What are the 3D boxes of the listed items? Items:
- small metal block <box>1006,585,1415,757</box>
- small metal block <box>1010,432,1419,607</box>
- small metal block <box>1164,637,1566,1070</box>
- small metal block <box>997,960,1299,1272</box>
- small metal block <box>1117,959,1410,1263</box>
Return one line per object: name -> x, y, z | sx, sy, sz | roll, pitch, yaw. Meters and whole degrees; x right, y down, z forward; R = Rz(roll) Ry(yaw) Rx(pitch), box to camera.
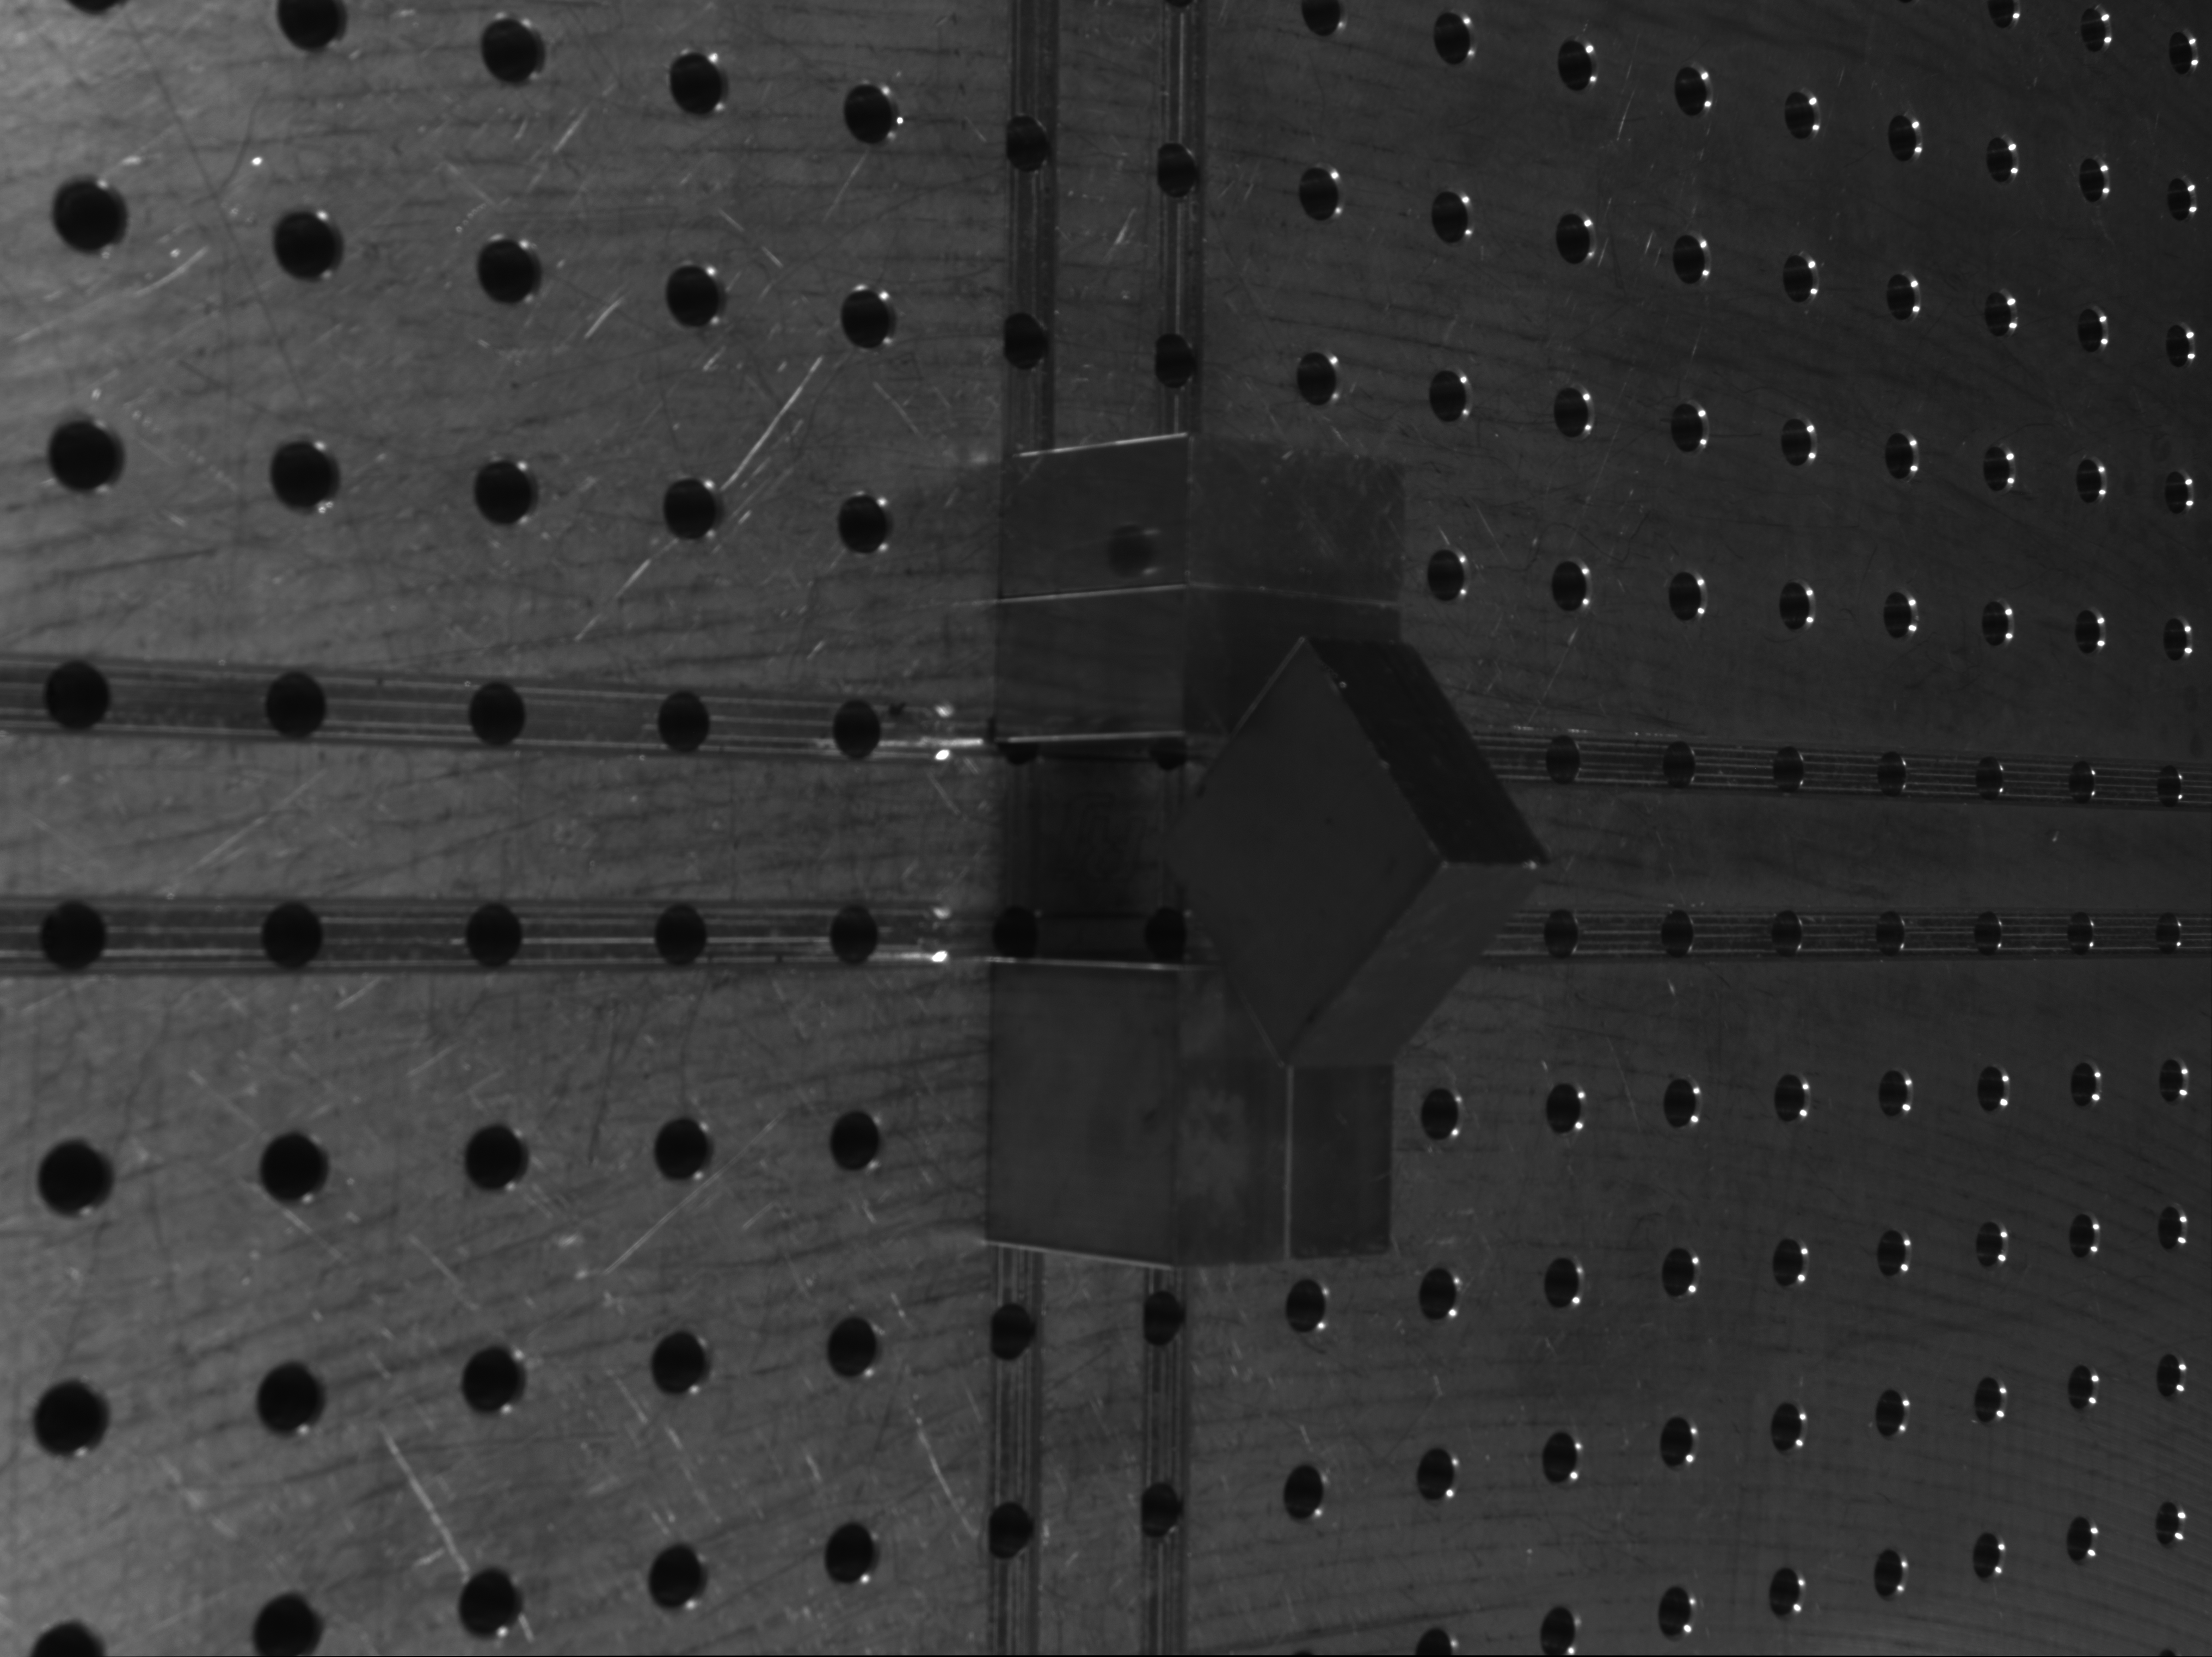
small metal block -> 0.018, -0.027, 0.638 | 0.050, 0.050, 0.025 | 3, 88, -40
small metal block -> 0.019, -0.052, 0.639 | 0.050, 0.050, 0.025 | 3, 88, -40
small metal block -> 0.042, 0.004, 0.605 | 0.025, 0.050, 0.050 | 1, 47, -39
small metal block -> 0.007, 0.048, 0.630 | 0.025, 0.050, 0.050 | 2, 89, -40
small metal block -> 0.027, 0.049, 0.645 | 0.025, 0.050, 0.050 | 2, 89, -40
